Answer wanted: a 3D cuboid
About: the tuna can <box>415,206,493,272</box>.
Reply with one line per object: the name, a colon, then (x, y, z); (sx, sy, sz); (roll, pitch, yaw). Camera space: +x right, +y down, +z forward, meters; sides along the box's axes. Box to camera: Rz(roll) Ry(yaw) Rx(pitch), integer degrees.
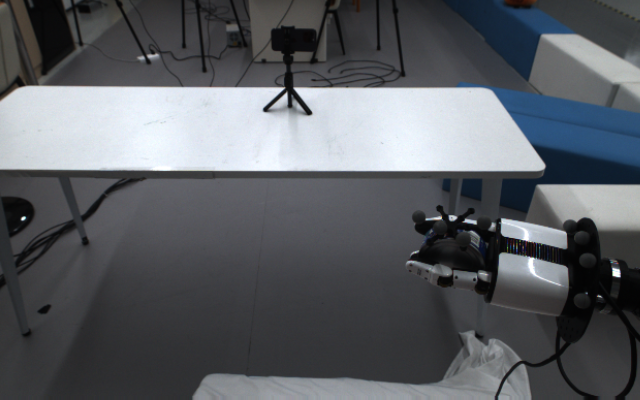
tuna can: (0.177, 0.070, 0.639); (0.085, 0.085, 0.034); (14, 41, 16)
